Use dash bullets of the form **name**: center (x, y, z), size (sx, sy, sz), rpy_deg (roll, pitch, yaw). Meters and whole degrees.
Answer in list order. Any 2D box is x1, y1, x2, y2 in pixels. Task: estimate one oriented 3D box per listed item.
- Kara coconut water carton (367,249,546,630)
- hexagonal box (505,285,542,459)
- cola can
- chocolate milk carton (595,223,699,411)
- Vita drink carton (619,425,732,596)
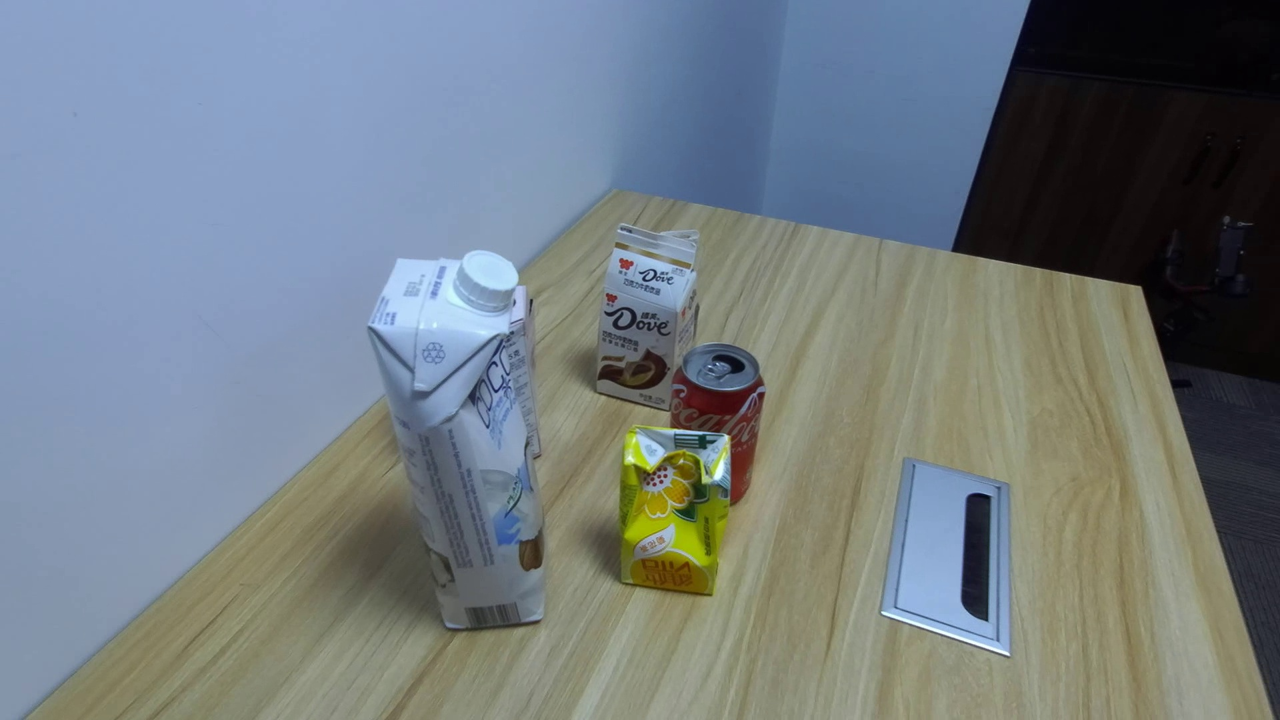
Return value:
- **Kara coconut water carton**: center (-0.096, 0.051, 0.413), size (0.071, 0.244, 0.099), rpy_deg (-2, 37, -3)
- **hexagonal box**: center (-0.120, 0.016, 0.551), size (0.085, 0.135, 0.092), rpy_deg (-4, 37, -6)
- **cola can**: center (0.055, 0.049, 0.524), size (0.068, 0.120, 0.067), rpy_deg (2, 36, -1)
- **chocolate milk carton**: center (0.006, -0.043, 0.613), size (0.084, 0.155, 0.073), rpy_deg (13, 38, 16)
- **Vita drink carton**: center (0.022, 0.101, 0.463), size (0.071, 0.110, 0.046), rpy_deg (5, 34, 8)
